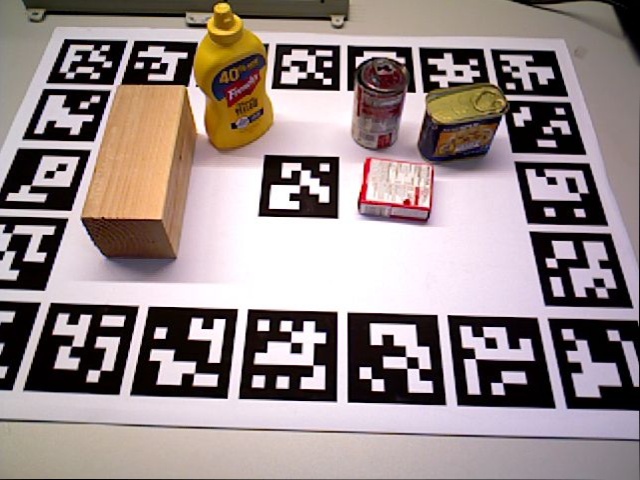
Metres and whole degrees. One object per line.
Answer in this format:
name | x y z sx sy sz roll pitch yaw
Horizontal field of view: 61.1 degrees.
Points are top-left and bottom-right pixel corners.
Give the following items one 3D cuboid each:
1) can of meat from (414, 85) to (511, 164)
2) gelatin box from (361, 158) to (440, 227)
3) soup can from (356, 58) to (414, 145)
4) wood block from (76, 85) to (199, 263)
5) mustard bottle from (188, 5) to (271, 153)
can of meat | 0.178 -0.149 0.698 0.101 0.085 0.057 -10 59 -9
gelatin box | 0.100 -0.059 0.670 0.089 0.030 0.072 9 61 8
soup can | 0.082 -0.180 0.695 0.067 0.104 0.067 0 59 -1
wood block | -0.211 -0.084 0.653 0.090 0.092 0.203 3 54 -1
mustard bottle | -0.110 -0.196 0.666 0.095 0.195 0.058 -20 60 -15
